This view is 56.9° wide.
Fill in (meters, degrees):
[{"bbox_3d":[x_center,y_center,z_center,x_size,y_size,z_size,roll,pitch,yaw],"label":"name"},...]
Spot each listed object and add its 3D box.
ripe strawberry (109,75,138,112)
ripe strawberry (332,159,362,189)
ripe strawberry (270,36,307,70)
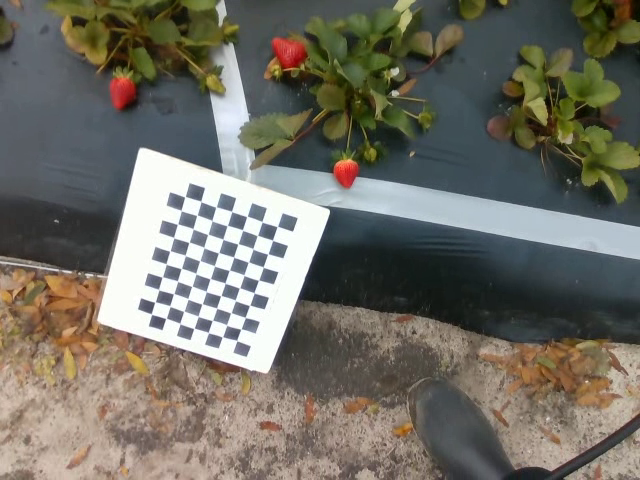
[{"bbox_3d":[-0.250,-0.191,0.741,0.036,0.046,0.040,8,-25,9],"label":"ripe strawberry"},{"bbox_3d":[0.035,-0.093,0.806,0.039,0.047,0.041,-12,12,15],"label":"ripe strawberry"},{"bbox_3d":[-0.044,-0.265,0.804,0.062,0.043,0.043,39,22,-5],"label":"ripe strawberry"}]
